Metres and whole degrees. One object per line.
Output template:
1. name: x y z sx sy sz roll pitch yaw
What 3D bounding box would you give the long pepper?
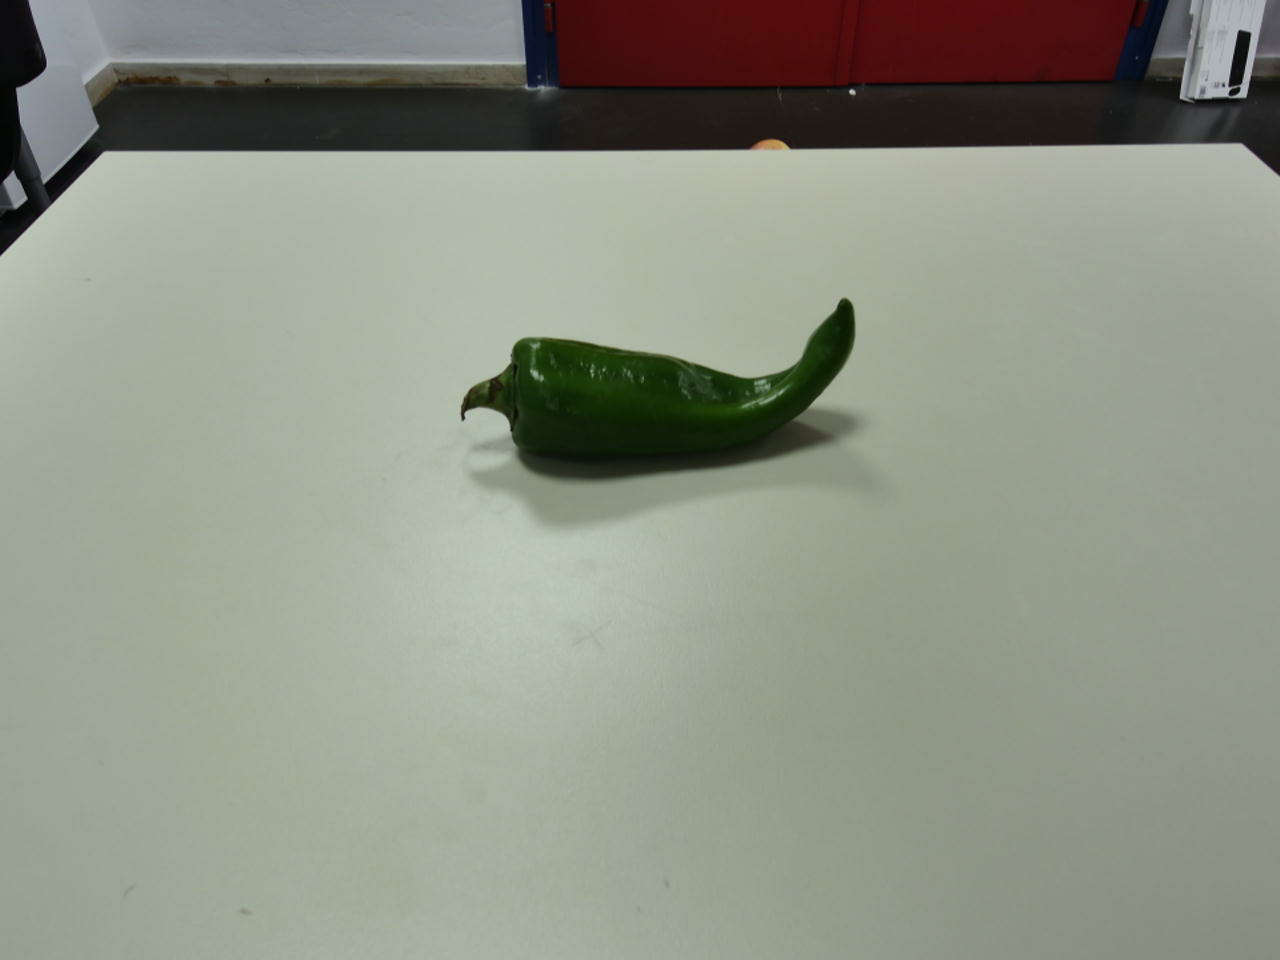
1. long pepper: 0.008 -0.044 0.440 0.175 0.065 0.058 -1 39 -1
